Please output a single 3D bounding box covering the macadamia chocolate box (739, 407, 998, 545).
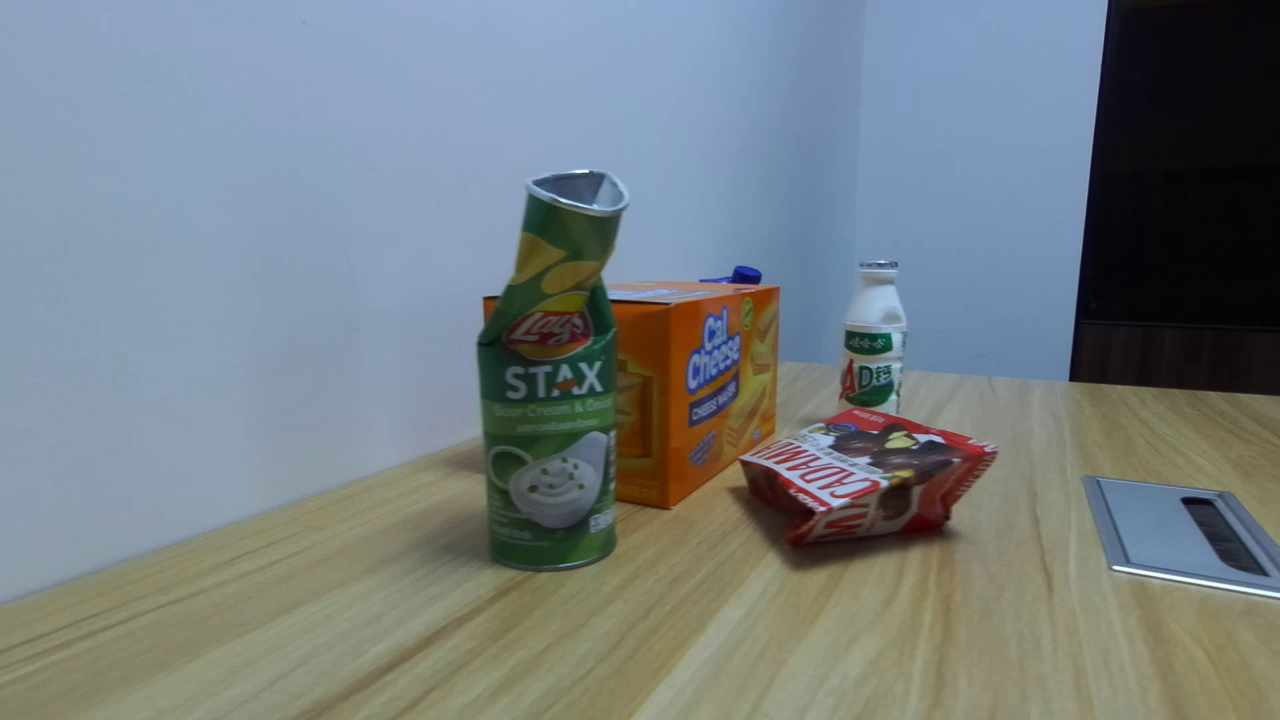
[{"bbox_3d":[0.119,0.065,0.412,0.112,0.056,0.126,-2,9,-18],"label":"macadamia chocolate box"}]

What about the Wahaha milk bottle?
[{"bbox_3d":[0.196,-0.004,0.593,0.053,0.136,0.053,2,9,0],"label":"Wahaha milk bottle"}]

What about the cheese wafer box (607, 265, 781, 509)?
[{"bbox_3d":[0.006,0.010,0.541,0.147,0.129,0.223,5,11,28],"label":"cheese wafer box"}]

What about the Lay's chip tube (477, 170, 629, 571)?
[{"bbox_3d":[-0.038,0.006,0.356,0.070,0.199,0.079,18,21,41],"label":"Lay's chip tube"}]
